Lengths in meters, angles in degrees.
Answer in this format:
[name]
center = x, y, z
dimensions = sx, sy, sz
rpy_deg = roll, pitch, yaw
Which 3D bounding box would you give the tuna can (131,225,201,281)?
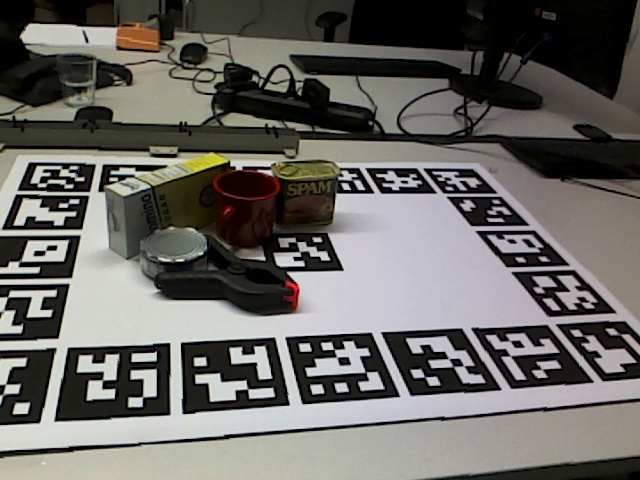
[tuna can]
center = -0.194, 0.018, 0.784
dimensions = 0.085, 0.033, 0.086
rpy_deg = 6, 33, -4

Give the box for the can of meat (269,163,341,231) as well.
[can of meat]
center = -0.026, -0.064, 0.919
dimensions = 0.101, 0.083, 0.058
rpy_deg = -4, 32, -21

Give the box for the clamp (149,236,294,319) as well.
[clamp]
center = -0.109, 0.052, 0.758
dimensions = 0.166, 0.036, 0.121
rpy_deg = 22, 30, 14

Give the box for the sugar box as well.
[sugar box]
center = -0.206, -0.048, 0.845
dimensions = 0.045, 0.093, 0.175
rpy_deg = 27, 35, 31

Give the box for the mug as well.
[mug]
center = -0.113, -0.043, 0.851
dimensions = 0.093, 0.081, 0.117
rpy_deg = 14, 34, 8
